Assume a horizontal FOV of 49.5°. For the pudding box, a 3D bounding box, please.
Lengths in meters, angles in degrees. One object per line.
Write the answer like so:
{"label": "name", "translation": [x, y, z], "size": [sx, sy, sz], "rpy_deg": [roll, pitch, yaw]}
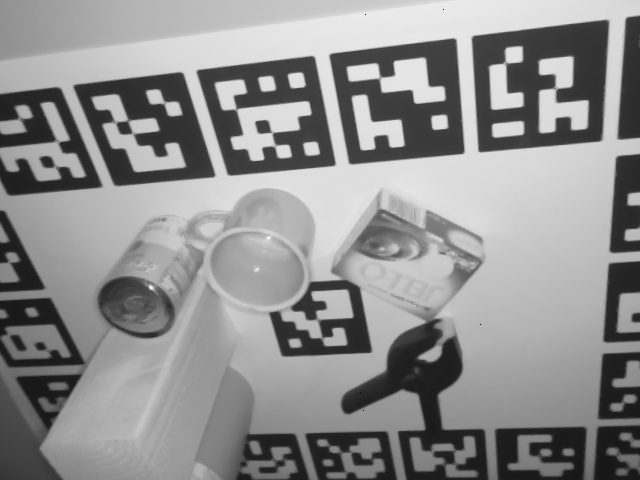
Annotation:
{"label": "pudding box", "translation": [0.085, -0.002, 0.636], "size": [0.114, 0.039, 0.089], "rpy_deg": [26, 119, -11]}

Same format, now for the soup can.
{"label": "soup can", "translation": [-0.153, 0.016, 0.632], "size": [0.068, 0.103, 0.067], "rpy_deg": [3, 121, 6]}

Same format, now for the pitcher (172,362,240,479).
{"label": "pitcher", "translation": [-0.163, 0.232, 0.692], "size": [0.188, 0.245, 0.132], "rpy_deg": [-7, 124, 9]}

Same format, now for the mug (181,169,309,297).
{"label": "mug", "translation": [-0.065, -0.015, 0.615], "size": [0.118, 0.082, 0.092], "rpy_deg": [24, 125, -10]}

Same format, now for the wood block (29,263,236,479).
{"label": "wood block", "translation": [-0.160, 0.121, 0.638], "size": [0.089, 0.209, 0.090], "rpy_deg": [-6, 122, 16]}

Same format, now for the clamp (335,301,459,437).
{"label": "clamp", "translation": [0.095, 0.131, 0.727], "size": [0.122, 0.037, 0.163], "rpy_deg": [23, 123, 1]}
